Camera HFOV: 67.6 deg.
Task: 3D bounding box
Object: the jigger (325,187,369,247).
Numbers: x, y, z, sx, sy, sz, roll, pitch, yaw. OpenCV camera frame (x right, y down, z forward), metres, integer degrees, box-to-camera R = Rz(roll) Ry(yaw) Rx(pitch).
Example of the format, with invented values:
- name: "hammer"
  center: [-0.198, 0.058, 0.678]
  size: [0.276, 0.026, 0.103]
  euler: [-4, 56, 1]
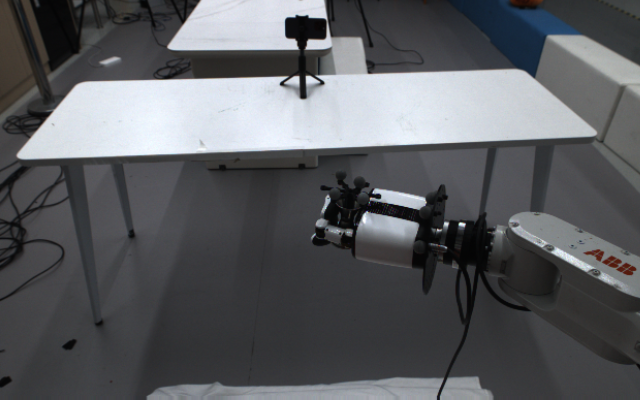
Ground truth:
- name: "jigger"
  center: [0.041, 0.034, 0.728]
  size: [0.043, 0.071, 0.043]
  euler: [6, 26, -3]
